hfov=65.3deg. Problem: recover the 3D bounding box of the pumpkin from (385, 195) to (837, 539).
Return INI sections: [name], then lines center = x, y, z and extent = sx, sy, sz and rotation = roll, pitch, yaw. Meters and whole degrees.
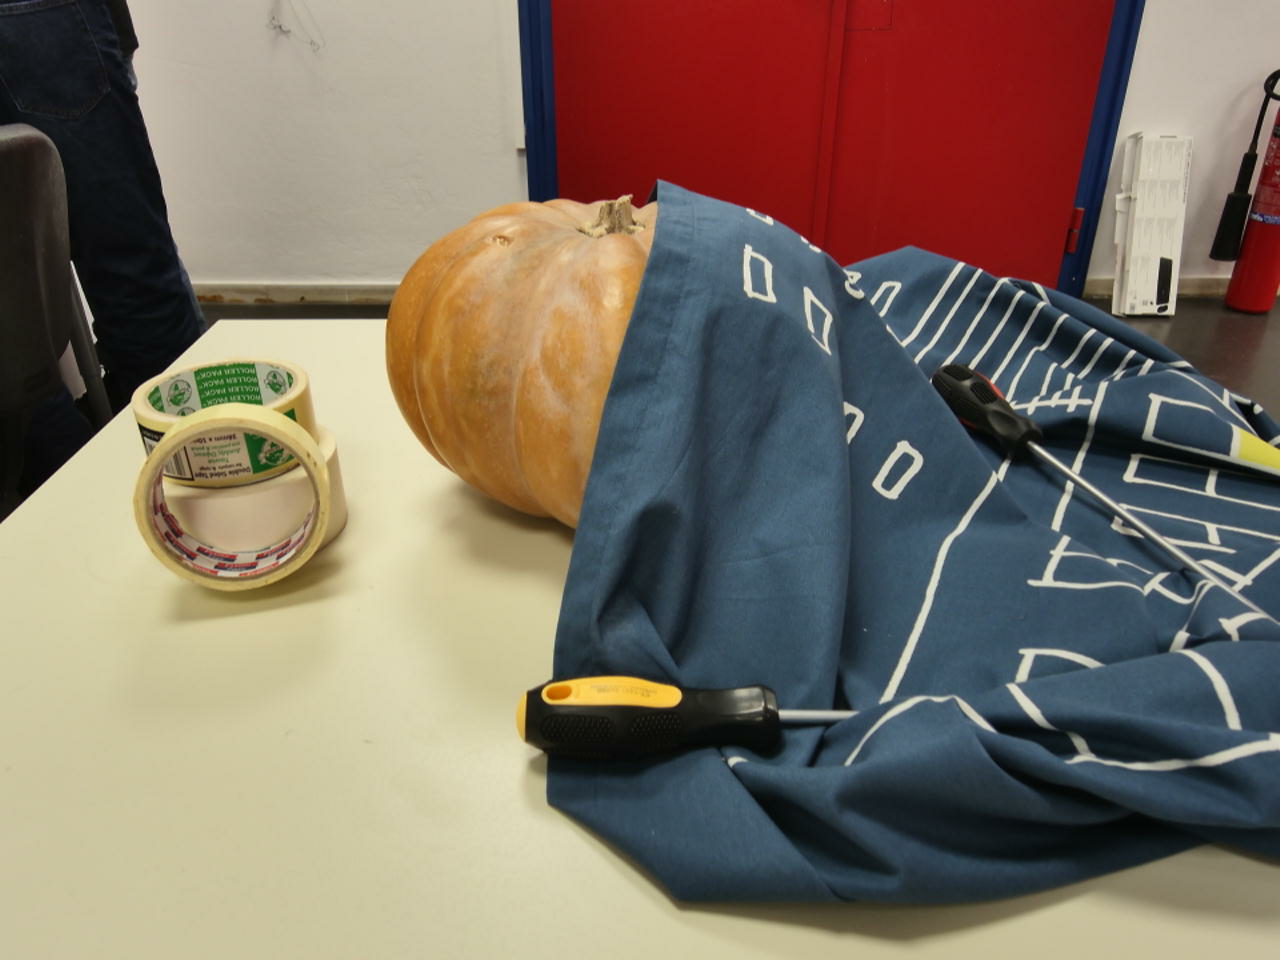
[pumpkin]
center = -0.015, -0.077, 0.602
extent = 0.277, 0.181, 0.277
rotation = 0, 26, 0
